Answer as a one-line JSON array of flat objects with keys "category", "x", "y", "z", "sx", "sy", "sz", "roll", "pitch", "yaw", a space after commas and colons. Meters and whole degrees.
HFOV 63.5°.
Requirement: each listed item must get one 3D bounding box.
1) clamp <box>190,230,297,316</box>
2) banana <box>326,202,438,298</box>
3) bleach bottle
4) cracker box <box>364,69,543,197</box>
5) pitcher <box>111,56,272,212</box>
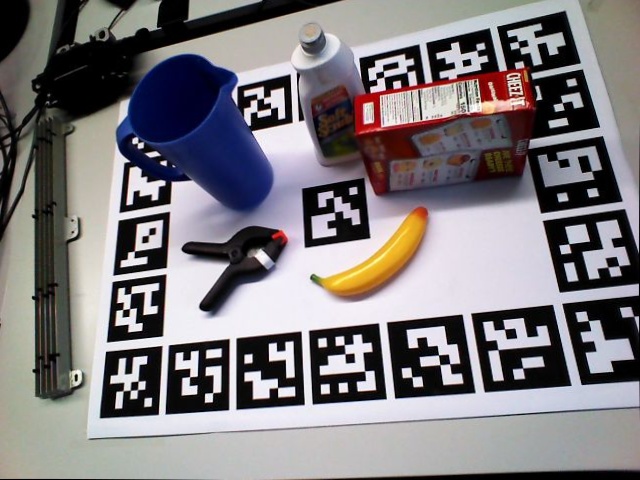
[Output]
[{"category": "clamp", "x": -0.113, "y": 0.034, "z": 0.792, "sx": 0.165, "sy": 0.036, "sz": 0.121, "roll": -24, "pitch": 62, "yaw": 4}, {"category": "banana", "x": 0.103, "y": 0.022, "z": 0.740, "sx": 0.197, "sy": 0.039, "sz": 0.074, "roll": -41, "pitch": 63, "yaw": -2}, {"category": "bleach bottle", "x": 0.019, "y": -0.192, "z": 0.727, "sx": 0.103, "sy": 0.251, "sz": 0.067, "roll": -10, "pitch": 65, "yaw": 13}, {"category": "cracker box", "x": 0.180, "y": -0.138, "z": 0.687, "sx": 0.215, "sy": 0.164, "sz": 0.071, "roll": -9, "pitch": 63, "yaw": 15}, {"category": "pitcher", "x": -0.165, "y": -0.131, "z": 0.736, "sx": 0.189, "sy": 0.243, "sz": 0.133, "roll": -26, "pitch": 63, "yaw": 2}]
